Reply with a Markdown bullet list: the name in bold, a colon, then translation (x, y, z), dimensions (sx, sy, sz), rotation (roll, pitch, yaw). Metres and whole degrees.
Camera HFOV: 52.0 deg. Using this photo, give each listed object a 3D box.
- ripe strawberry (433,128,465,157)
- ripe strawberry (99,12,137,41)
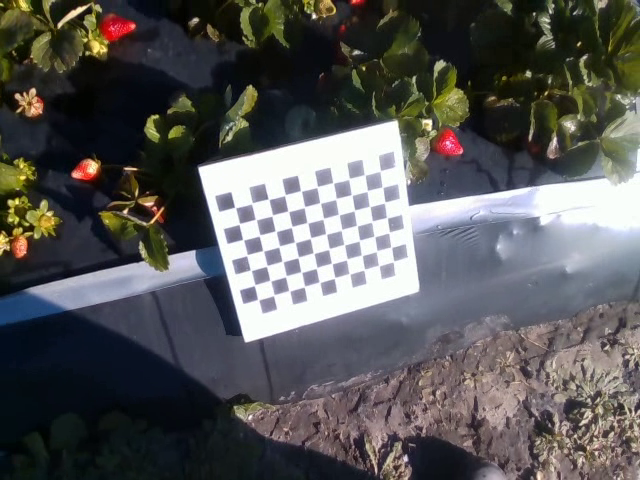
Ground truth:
- **ripe strawberry**: translation (0.204, -0.149, 1.024), dimensions (0.055, 0.048, 0.029), rotation (30, 9, -22)
- **ripe strawberry**: translation (-0.315, -0.328, 1.011), dimensions (0.064, 0.049, 0.052), rotation (-5, 20, -3)
